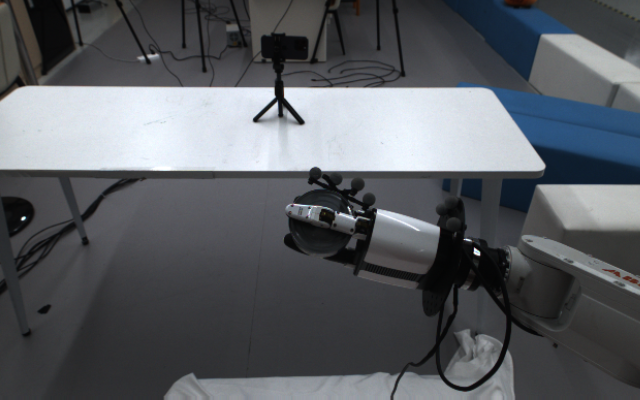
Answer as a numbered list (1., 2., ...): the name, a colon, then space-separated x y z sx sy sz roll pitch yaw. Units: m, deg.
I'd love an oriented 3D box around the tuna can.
1. tuna can: 0.004 0.029 0.630 0.085 0.034 0.085 0 72 0
